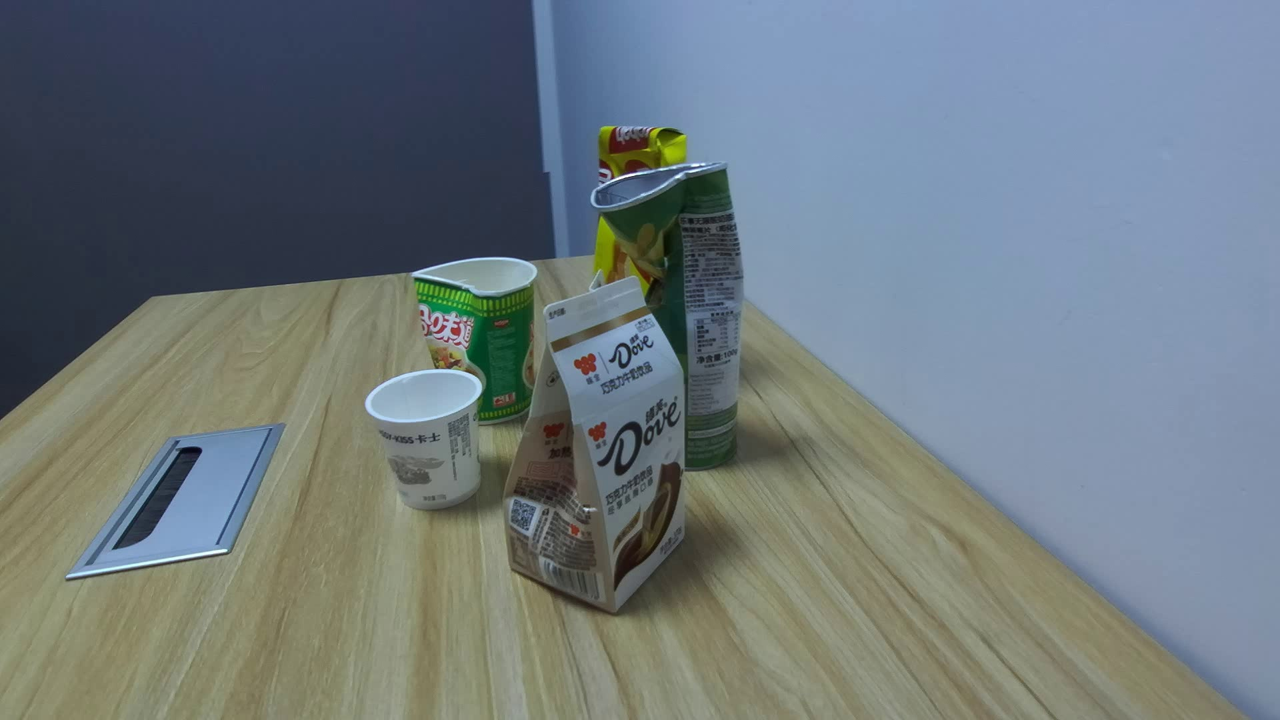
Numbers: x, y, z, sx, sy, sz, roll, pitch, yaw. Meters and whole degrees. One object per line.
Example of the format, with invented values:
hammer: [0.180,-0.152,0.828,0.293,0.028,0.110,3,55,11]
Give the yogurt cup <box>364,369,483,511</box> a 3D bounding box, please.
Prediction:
yogurt cup: [-0.132,0.052,0.451,0.072,0.068,0.072,-2,24,1]

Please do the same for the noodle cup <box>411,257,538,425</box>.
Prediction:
noodle cup: [-0.120,-0.015,0.553,0.087,0.109,0.093,-15,29,-27]

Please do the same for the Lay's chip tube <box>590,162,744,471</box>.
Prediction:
Lay's chip tube: [0.023,-0.025,0.459,0.071,0.199,0.078,-22,29,-23]

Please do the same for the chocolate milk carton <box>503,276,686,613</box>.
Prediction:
chocolate milk carton: [-0.026,0.039,0.365,0.072,0.155,0.084,13,29,31]
